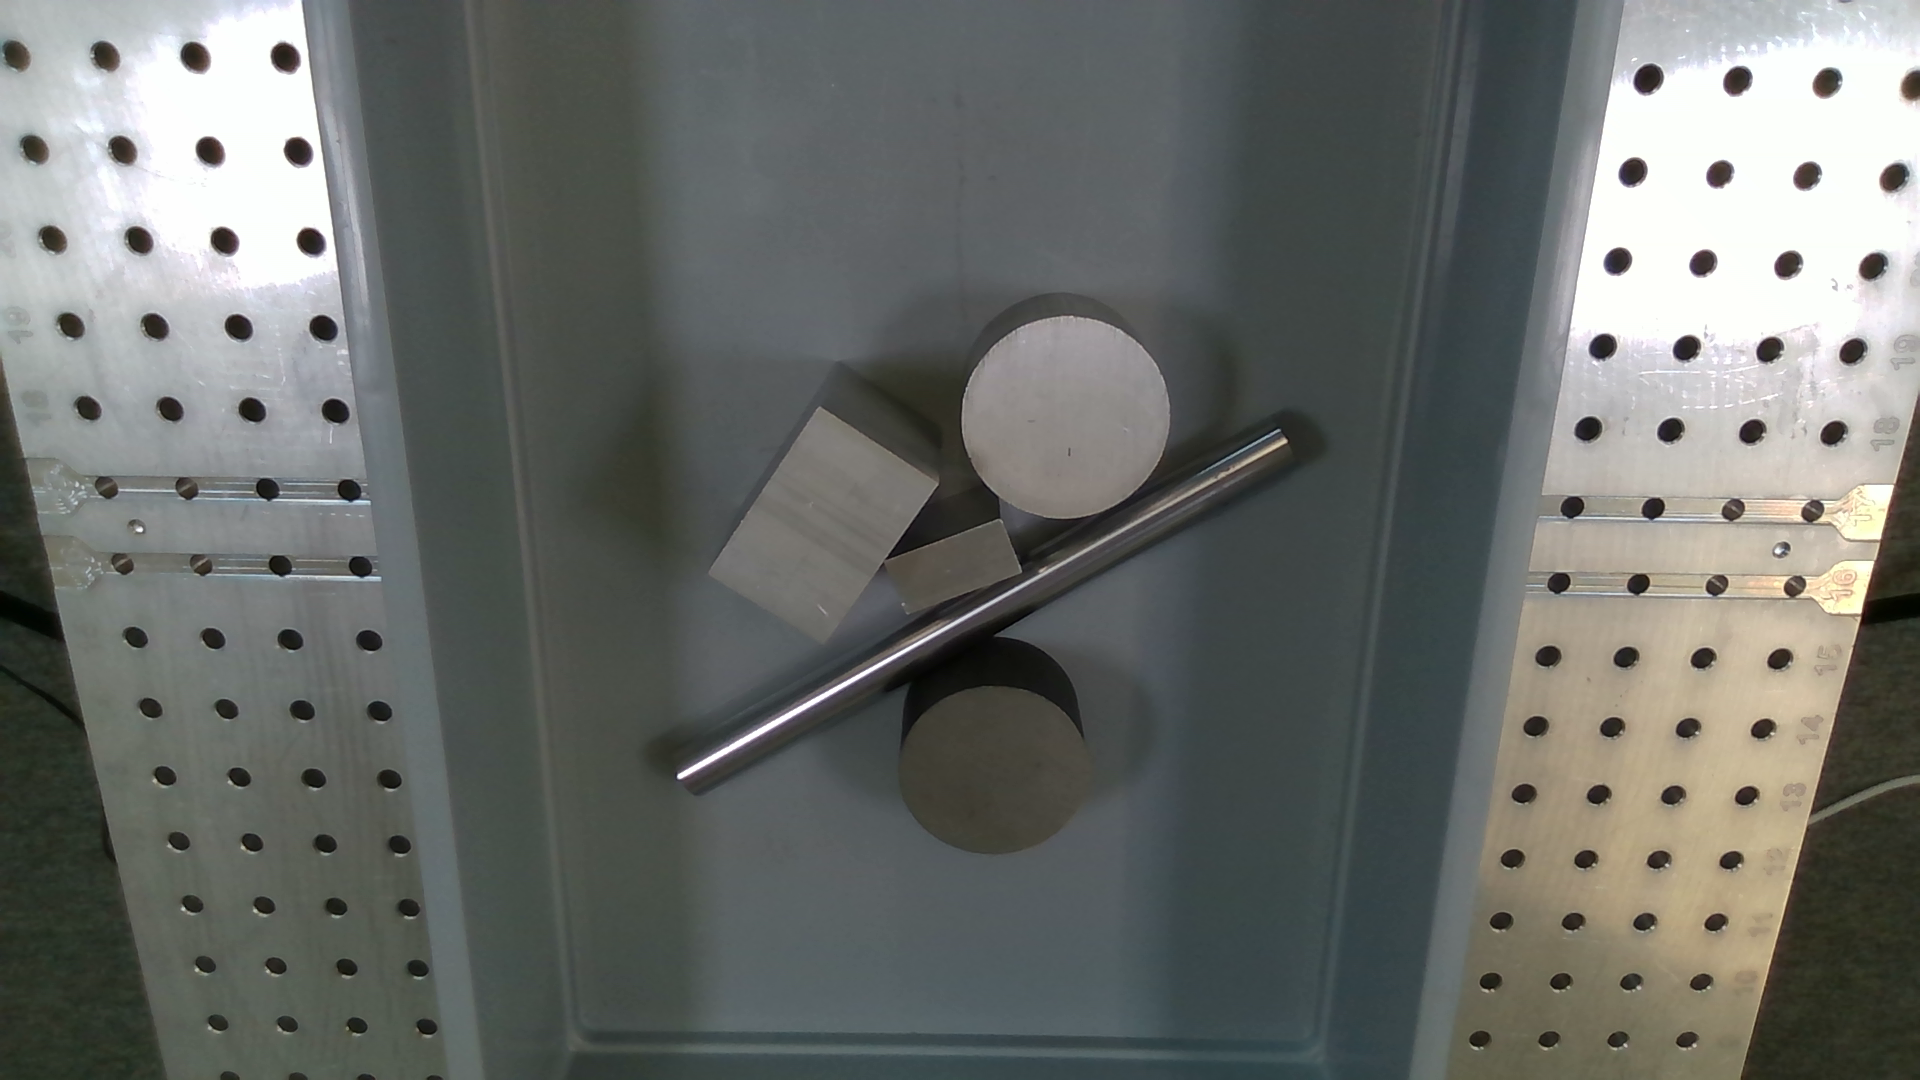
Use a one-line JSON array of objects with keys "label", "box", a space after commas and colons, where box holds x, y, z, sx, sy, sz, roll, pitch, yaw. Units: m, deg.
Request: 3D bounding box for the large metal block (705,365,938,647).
[{"label": "large metal block", "box": [-0.052, -0.017, 0.547, 0.050, 0.080, 0.080, 33, 106, -10]}]

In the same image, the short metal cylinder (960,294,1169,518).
[{"label": "short metal cylinder", "box": [0.040, -0.055, 0.550, 0.080, 0.050, 0.080, 0, 110, 0]}]

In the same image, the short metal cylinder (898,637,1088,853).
[{"label": "short metal cylinder", "box": [0.014, 0.089, 0.603, 0.080, 0.050, 0.080, 0, 110, 0]}]

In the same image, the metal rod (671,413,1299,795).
[{"label": "metal rod", "box": [0.005, 0.031, 0.595, 0.300, 0.025, 0.025, -30, 107, 10]}]

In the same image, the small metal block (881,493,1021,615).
[{"label": "small metal block", "box": [-0.003, 0.002, 0.571, 0.050, 0.050, 0.025, -20, 109, 7]}]
